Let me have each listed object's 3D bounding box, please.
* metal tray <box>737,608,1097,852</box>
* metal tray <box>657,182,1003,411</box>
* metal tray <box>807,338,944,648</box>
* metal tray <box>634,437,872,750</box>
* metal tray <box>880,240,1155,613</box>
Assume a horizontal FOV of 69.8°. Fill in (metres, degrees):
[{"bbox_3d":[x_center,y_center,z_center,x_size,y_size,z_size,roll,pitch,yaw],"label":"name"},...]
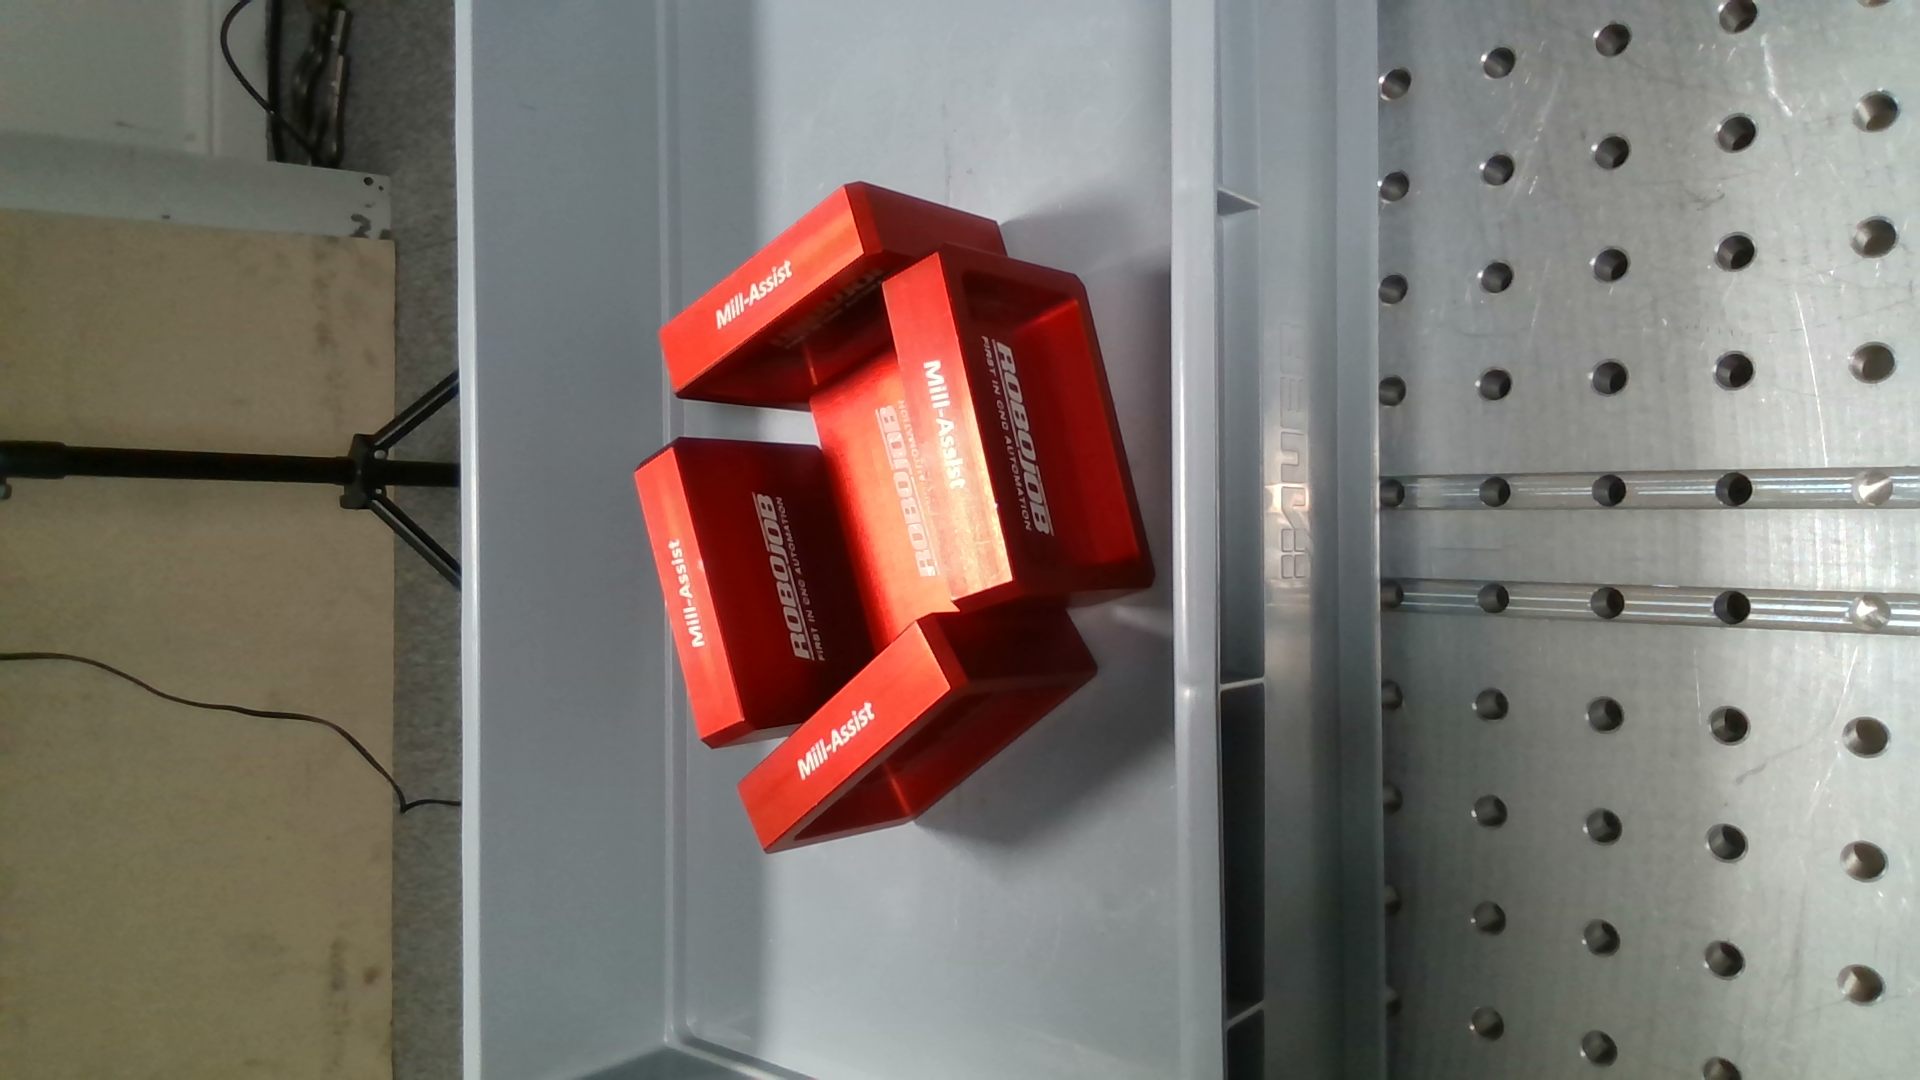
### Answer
[{"bbox_3d":[-0.018,0.077,0.554,0.130,0.090,0.030,-44,63,32],"label":"metal tray"},{"bbox_3d":[-0.054,-0.097,0.582,0.130,0.090,0.030,-27,73,37],"label":"metal tray"},{"bbox_3d":[-0.011,-0.021,0.585,0.090,0.030,0.130,-25,74,38],"label":"metal tray"},{"bbox_3d":[-0.086,0.022,0.610,0.030,0.090,0.130,-26,74,37],"label":"metal tray"},{"bbox_3d":[0.023,-0.041,0.517,0.030,0.090,0.130,-20,77,38],"label":"metal tray"}]
